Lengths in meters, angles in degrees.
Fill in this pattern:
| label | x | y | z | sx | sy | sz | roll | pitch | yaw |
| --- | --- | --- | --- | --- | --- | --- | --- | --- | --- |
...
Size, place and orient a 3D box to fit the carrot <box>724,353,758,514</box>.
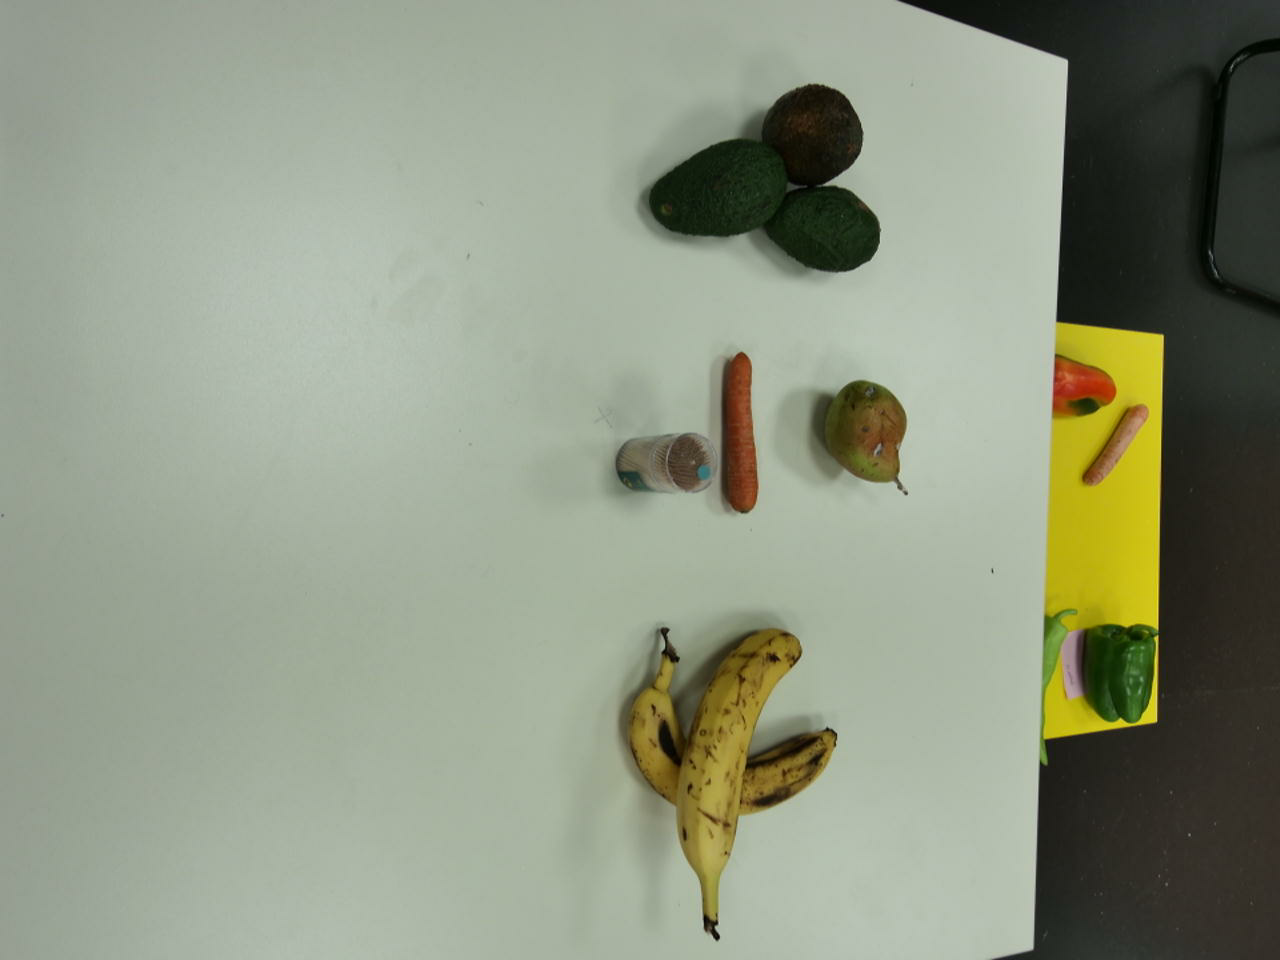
| label | x | y | z | sx | sy | sz | roll | pitch | yaw |
| --- | --- | --- | --- | --- | --- | --- | --- | --- | --- |
| carrot | 0.077 | -0.036 | 0.750 | 0.024 | 0.023 | 0.122 | 0 | 90 | -29 |
